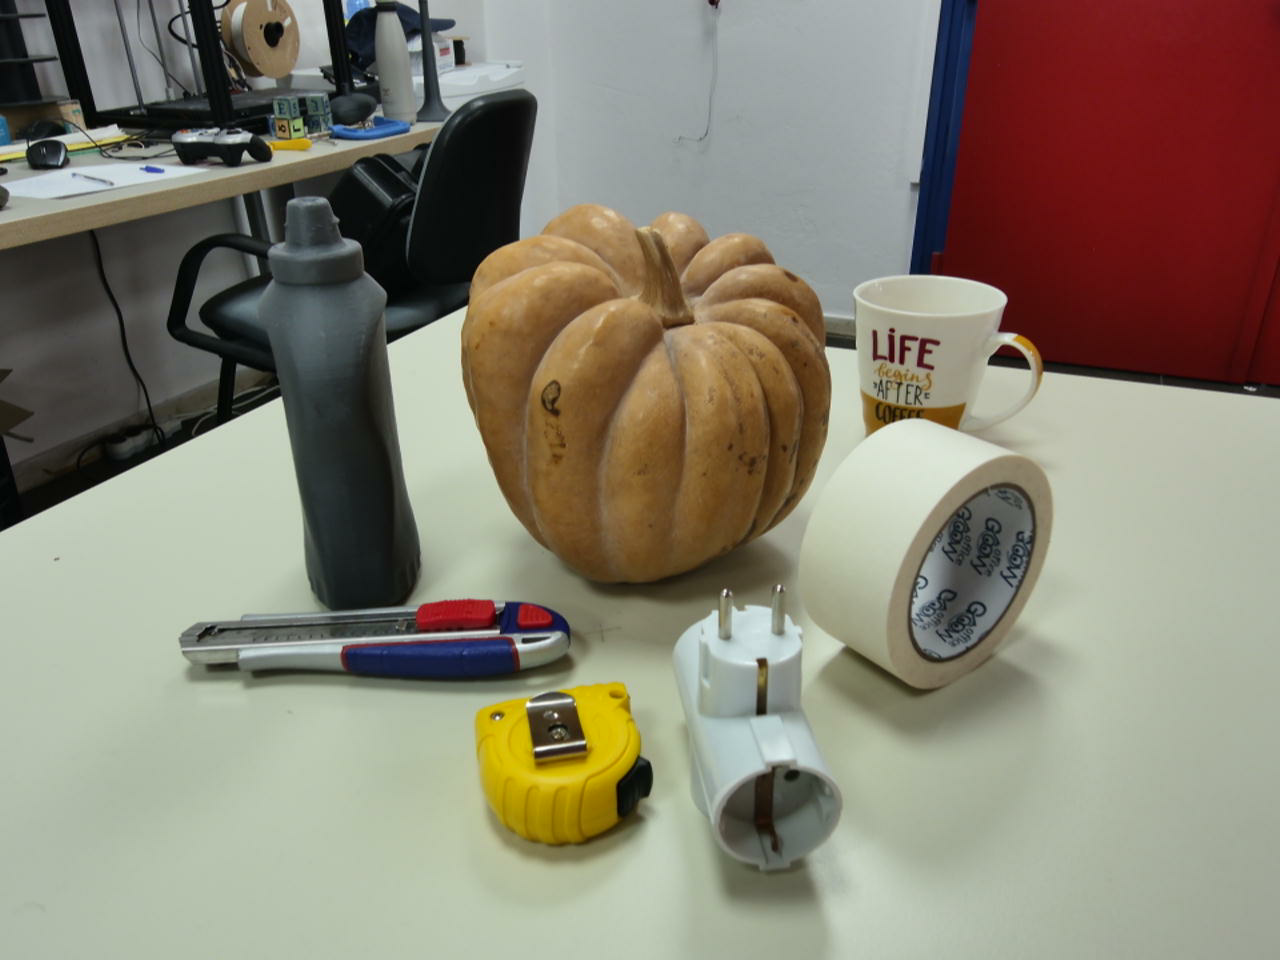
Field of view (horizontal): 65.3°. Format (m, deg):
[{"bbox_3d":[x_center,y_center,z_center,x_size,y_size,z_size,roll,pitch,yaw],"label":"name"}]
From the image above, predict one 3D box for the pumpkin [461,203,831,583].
[{"bbox_3d":[0.002,-0.045,0.514,0.199,0.177,0.198,0,25,0],"label":"pumpkin"}]
